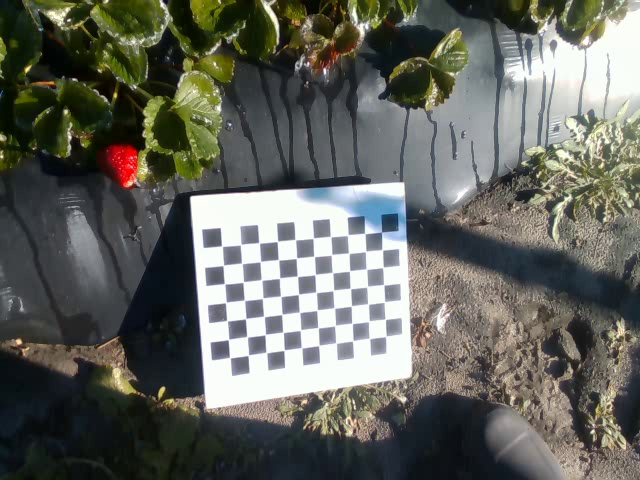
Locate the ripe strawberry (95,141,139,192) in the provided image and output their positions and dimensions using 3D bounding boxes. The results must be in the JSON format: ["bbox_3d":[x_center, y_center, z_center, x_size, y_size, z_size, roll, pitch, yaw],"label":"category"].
[{"bbox_3d":[-0.187,-0.069,0.598,0.041,0.053,0.047,-12,-30,-15],"label":"ripe strawberry"}]
